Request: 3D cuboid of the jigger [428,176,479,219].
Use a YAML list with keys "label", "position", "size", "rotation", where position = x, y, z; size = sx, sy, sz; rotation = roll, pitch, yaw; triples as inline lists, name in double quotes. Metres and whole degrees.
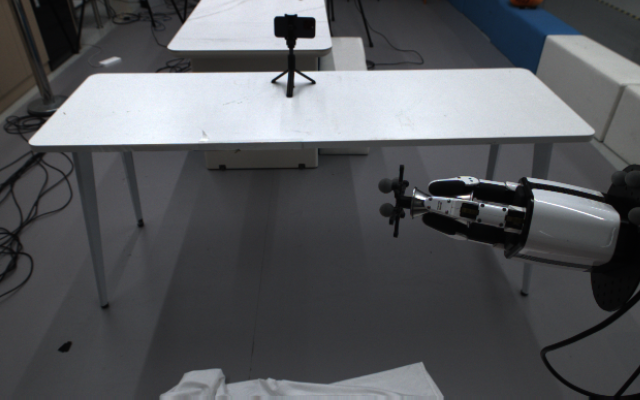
- label: "jigger"
  position: [0.152, 0.002, 0.576]
  size: [0.071, 0.043, 0.043]
  rotation: [5, 34, 19]
